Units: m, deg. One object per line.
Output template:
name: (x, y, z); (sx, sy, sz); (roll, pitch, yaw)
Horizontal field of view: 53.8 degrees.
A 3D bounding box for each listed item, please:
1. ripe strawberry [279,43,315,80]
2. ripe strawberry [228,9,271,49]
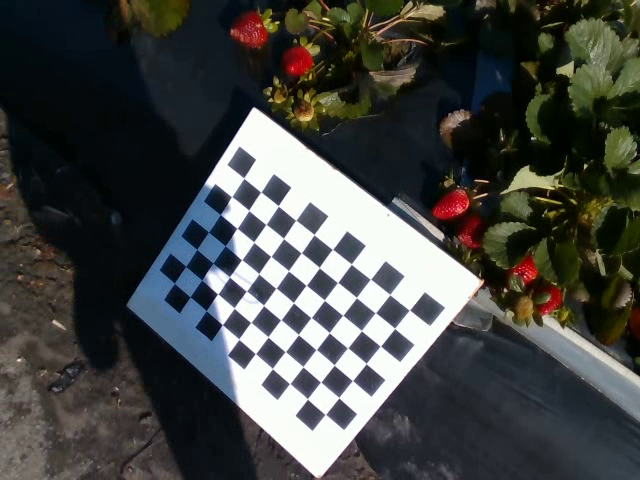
ripe strawberry: (-0.023, -0.202, 0.724); (0.042, 0.039, 0.049); (-6, 30, 20)
ripe strawberry: (-0.082, -0.244, 0.735); (0.044, 0.051, 0.050); (-39, -7, 40)
